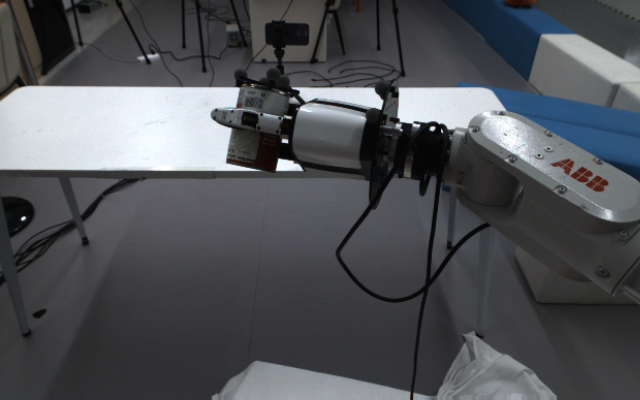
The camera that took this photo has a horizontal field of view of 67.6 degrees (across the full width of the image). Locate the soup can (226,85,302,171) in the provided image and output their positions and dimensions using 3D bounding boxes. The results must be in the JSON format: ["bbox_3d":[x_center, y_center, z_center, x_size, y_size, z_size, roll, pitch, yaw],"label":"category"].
[{"bbox_3d":[-0.079,-0.090,0.625,0.067,0.101,0.067,11,2,0],"label":"soup can"}]
